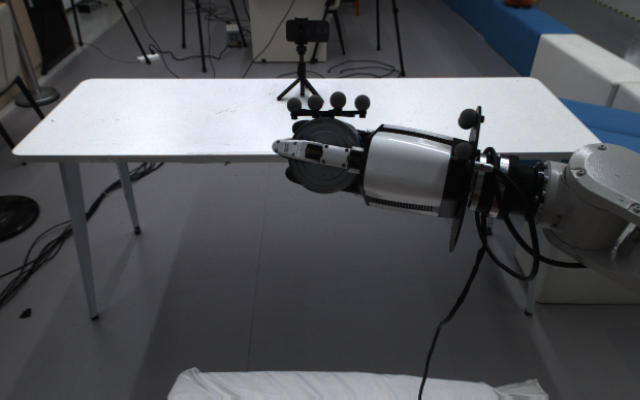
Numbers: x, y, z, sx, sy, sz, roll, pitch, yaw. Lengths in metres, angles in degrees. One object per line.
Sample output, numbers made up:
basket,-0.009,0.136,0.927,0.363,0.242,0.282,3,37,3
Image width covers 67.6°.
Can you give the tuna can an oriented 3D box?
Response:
tuna can,0.012,-0.046,0.553,0.085,0.085,0.034,12,8,14
